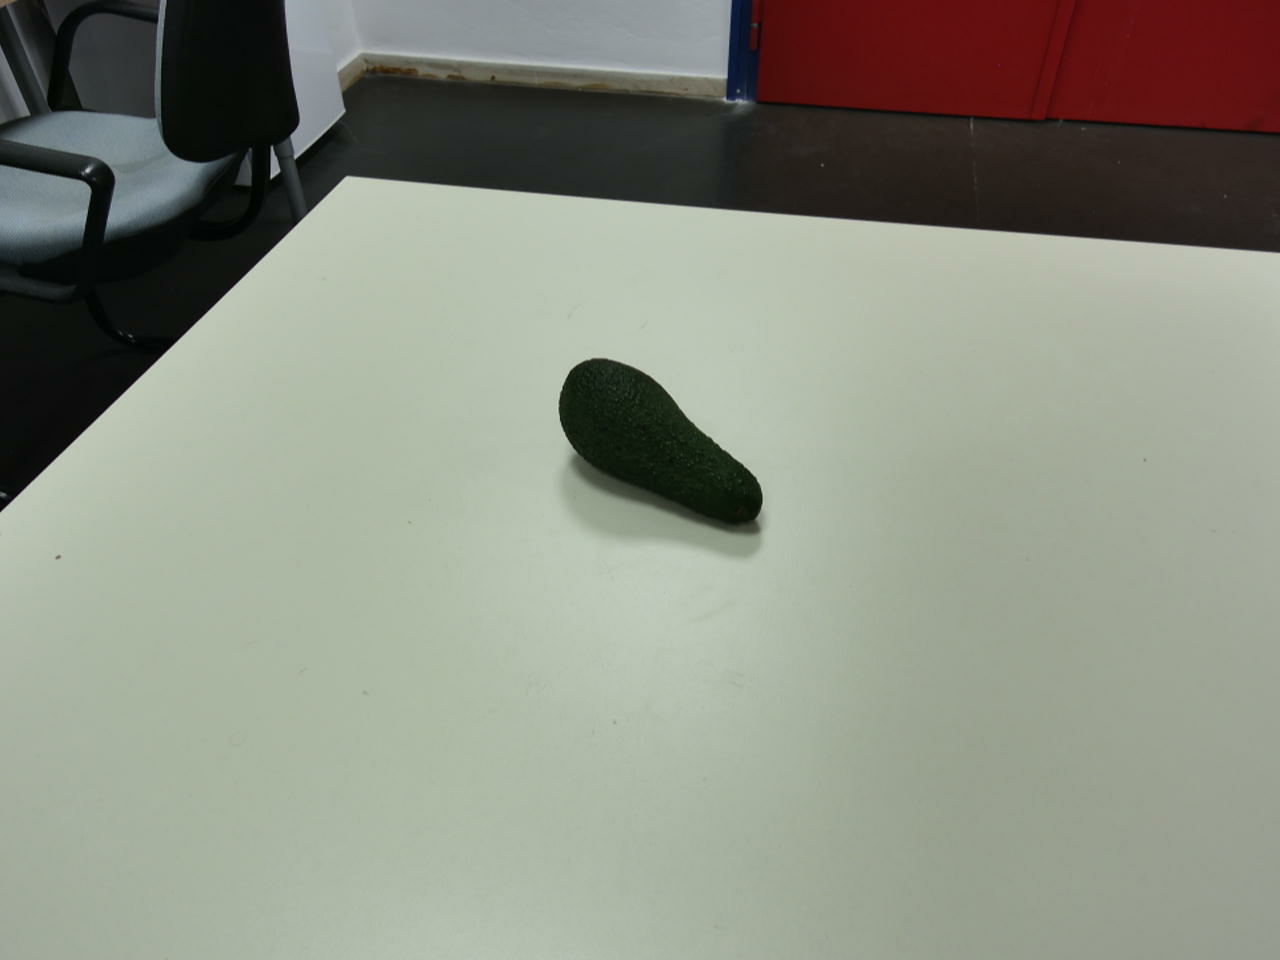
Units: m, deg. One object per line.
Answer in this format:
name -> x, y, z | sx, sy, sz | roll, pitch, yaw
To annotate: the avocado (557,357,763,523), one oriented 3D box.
avocado -> 0.014, -0.028, 0.582 | 0.141, 0.067, 0.063 | 18, 43, 21
